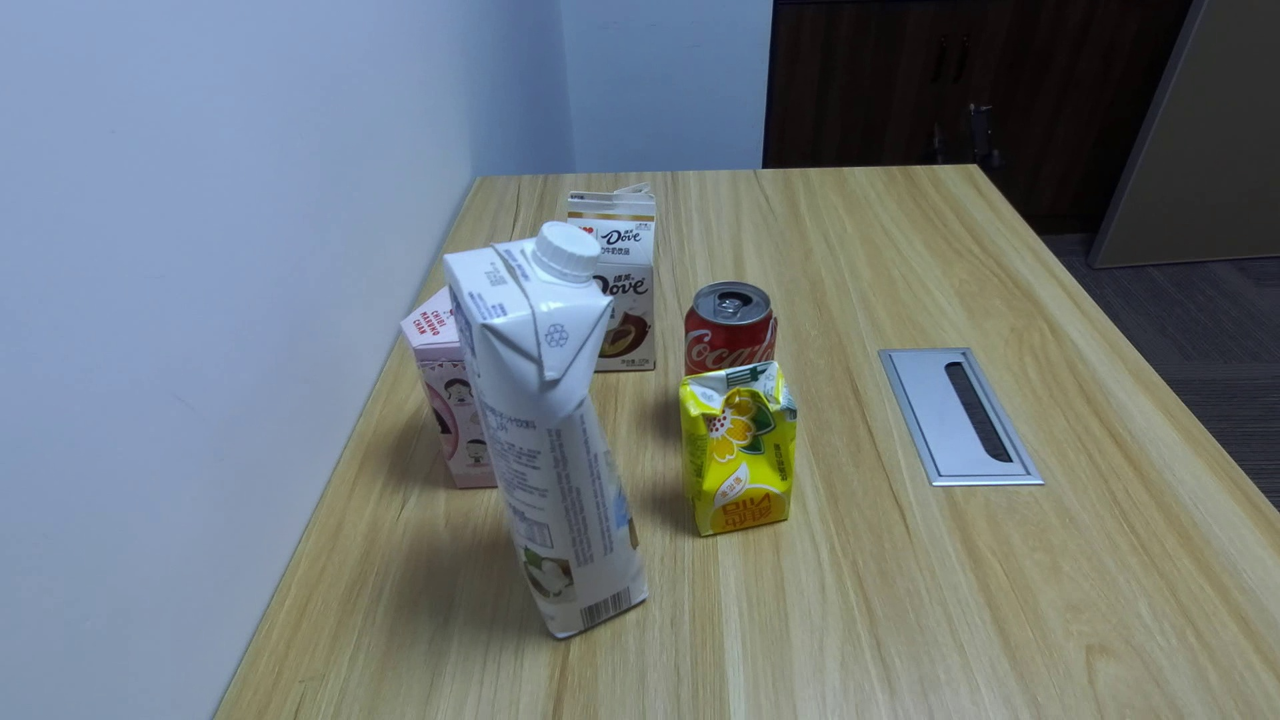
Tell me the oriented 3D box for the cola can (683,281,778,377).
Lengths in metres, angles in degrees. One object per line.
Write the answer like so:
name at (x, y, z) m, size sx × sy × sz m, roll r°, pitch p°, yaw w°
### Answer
cola can at (0.066, 0.003, 0.529) m, size 0.068 × 0.120 × 0.067 m, roll 0°, pitch 37°, yaw 0°

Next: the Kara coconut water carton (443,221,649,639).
Kara coconut water carton at (-0.046, 0.044, 0.385) m, size 0.071 × 0.244 × 0.099 m, roll -19°, pitch 41°, yaw -18°

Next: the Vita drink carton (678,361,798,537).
Vita drink carton at (0.065, 0.061, 0.462) m, size 0.071 × 0.110 × 0.046 m, roll -10°, pitch 37°, yaw -7°

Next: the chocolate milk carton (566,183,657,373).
chocolate milk carton at (-0.027, -0.071, 0.596) m, size 0.084 × 0.155 × 0.073 m, roll -3°, pitch 38°, yaw 0°
